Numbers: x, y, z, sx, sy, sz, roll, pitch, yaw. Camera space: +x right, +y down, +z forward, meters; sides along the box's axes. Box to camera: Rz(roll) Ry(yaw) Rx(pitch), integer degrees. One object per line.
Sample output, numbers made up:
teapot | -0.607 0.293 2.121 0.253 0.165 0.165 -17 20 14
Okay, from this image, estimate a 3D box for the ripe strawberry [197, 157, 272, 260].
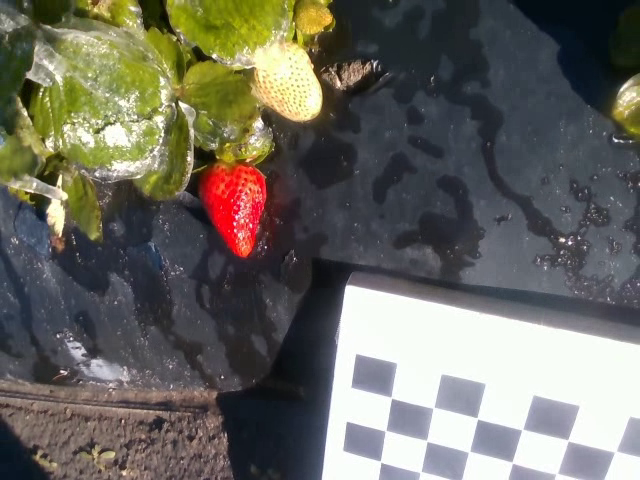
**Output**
ripe strawberry | -0.048 -0.012 0.319 0.041 0.052 0.040 -6 13 16
